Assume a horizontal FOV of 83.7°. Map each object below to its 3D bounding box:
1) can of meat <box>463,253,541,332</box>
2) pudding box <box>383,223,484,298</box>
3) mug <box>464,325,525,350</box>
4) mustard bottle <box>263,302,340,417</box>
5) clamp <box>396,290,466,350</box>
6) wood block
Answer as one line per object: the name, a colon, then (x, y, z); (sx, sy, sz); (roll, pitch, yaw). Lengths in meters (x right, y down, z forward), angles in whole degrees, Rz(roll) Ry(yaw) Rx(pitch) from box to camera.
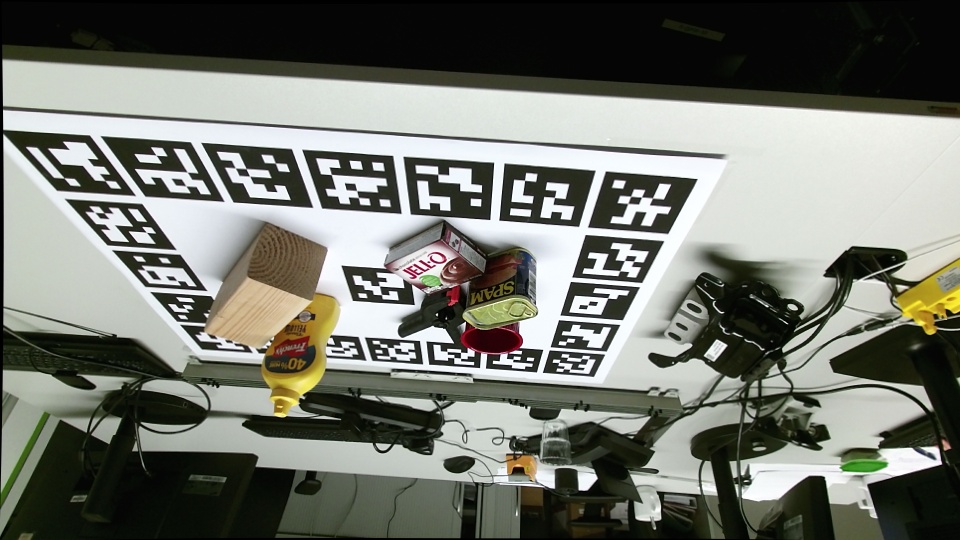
can of meat: (0.031, 0.032, 0.736); (0.102, 0.083, 0.058); (-16, 137, 25)
pudding box: (-0.065, -0.009, 0.737); (0.114, 0.038, 0.090); (-22, 135, 33)
mug: (0.019, 0.073, 0.840); (0.093, 0.081, 0.117); (18, 140, -17)
mustard bottle: (-0.284, 0.141, 0.831); (0.096, 0.190, 0.058); (0, 142, 4)
clamp: (-0.064, 0.088, 0.876); (0.122, 0.036, 0.165); (17, 140, -13)
wood block: (-0.319, 0.033, 0.782); (0.090, 0.090, 0.206); (26, 140, -29)
